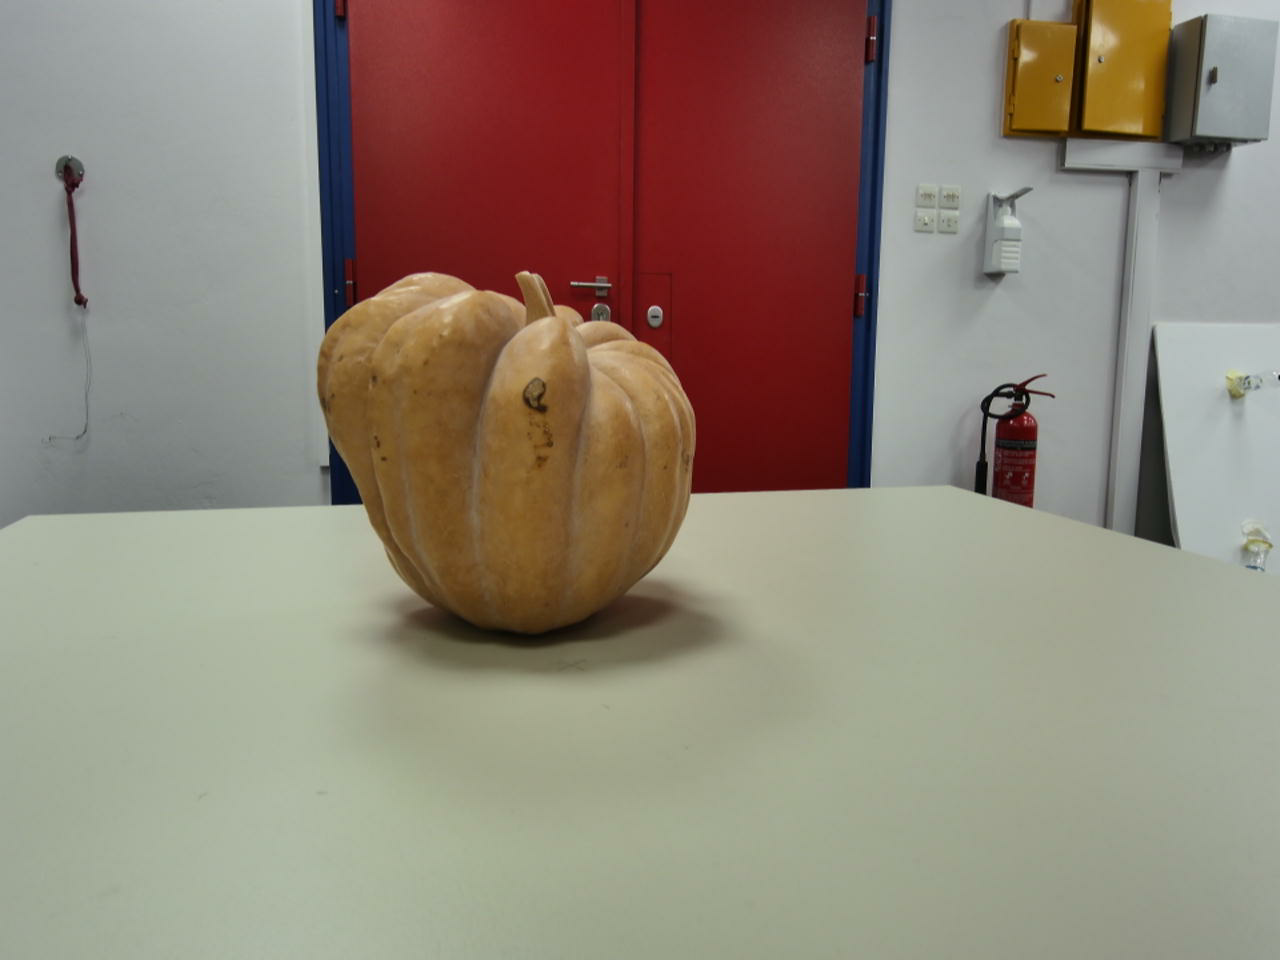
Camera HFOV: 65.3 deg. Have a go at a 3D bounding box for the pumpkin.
[{"bbox_3d":[-0.064,-0.016,0.507,0.199,0.177,0.198,0,7,0],"label":"pumpkin"}]
